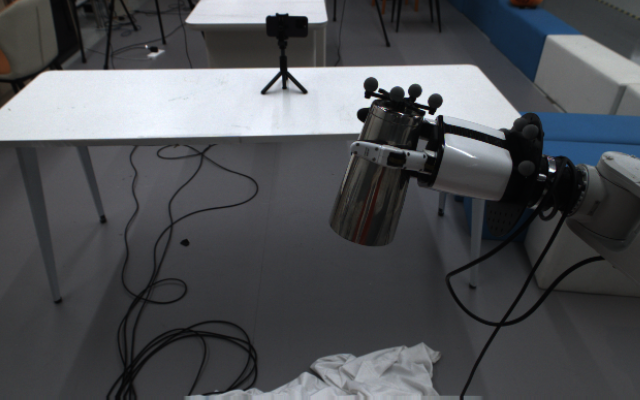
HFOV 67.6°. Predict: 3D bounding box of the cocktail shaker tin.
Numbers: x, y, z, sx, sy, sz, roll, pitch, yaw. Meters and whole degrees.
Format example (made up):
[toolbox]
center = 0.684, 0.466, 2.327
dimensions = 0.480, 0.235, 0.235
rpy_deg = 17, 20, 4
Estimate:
[cocktail shaker tin]
center = 0.079, -0.040, 0.624
dimensions = 0.093, 0.170, 0.093
rpy_deg = 12, 25, -6
